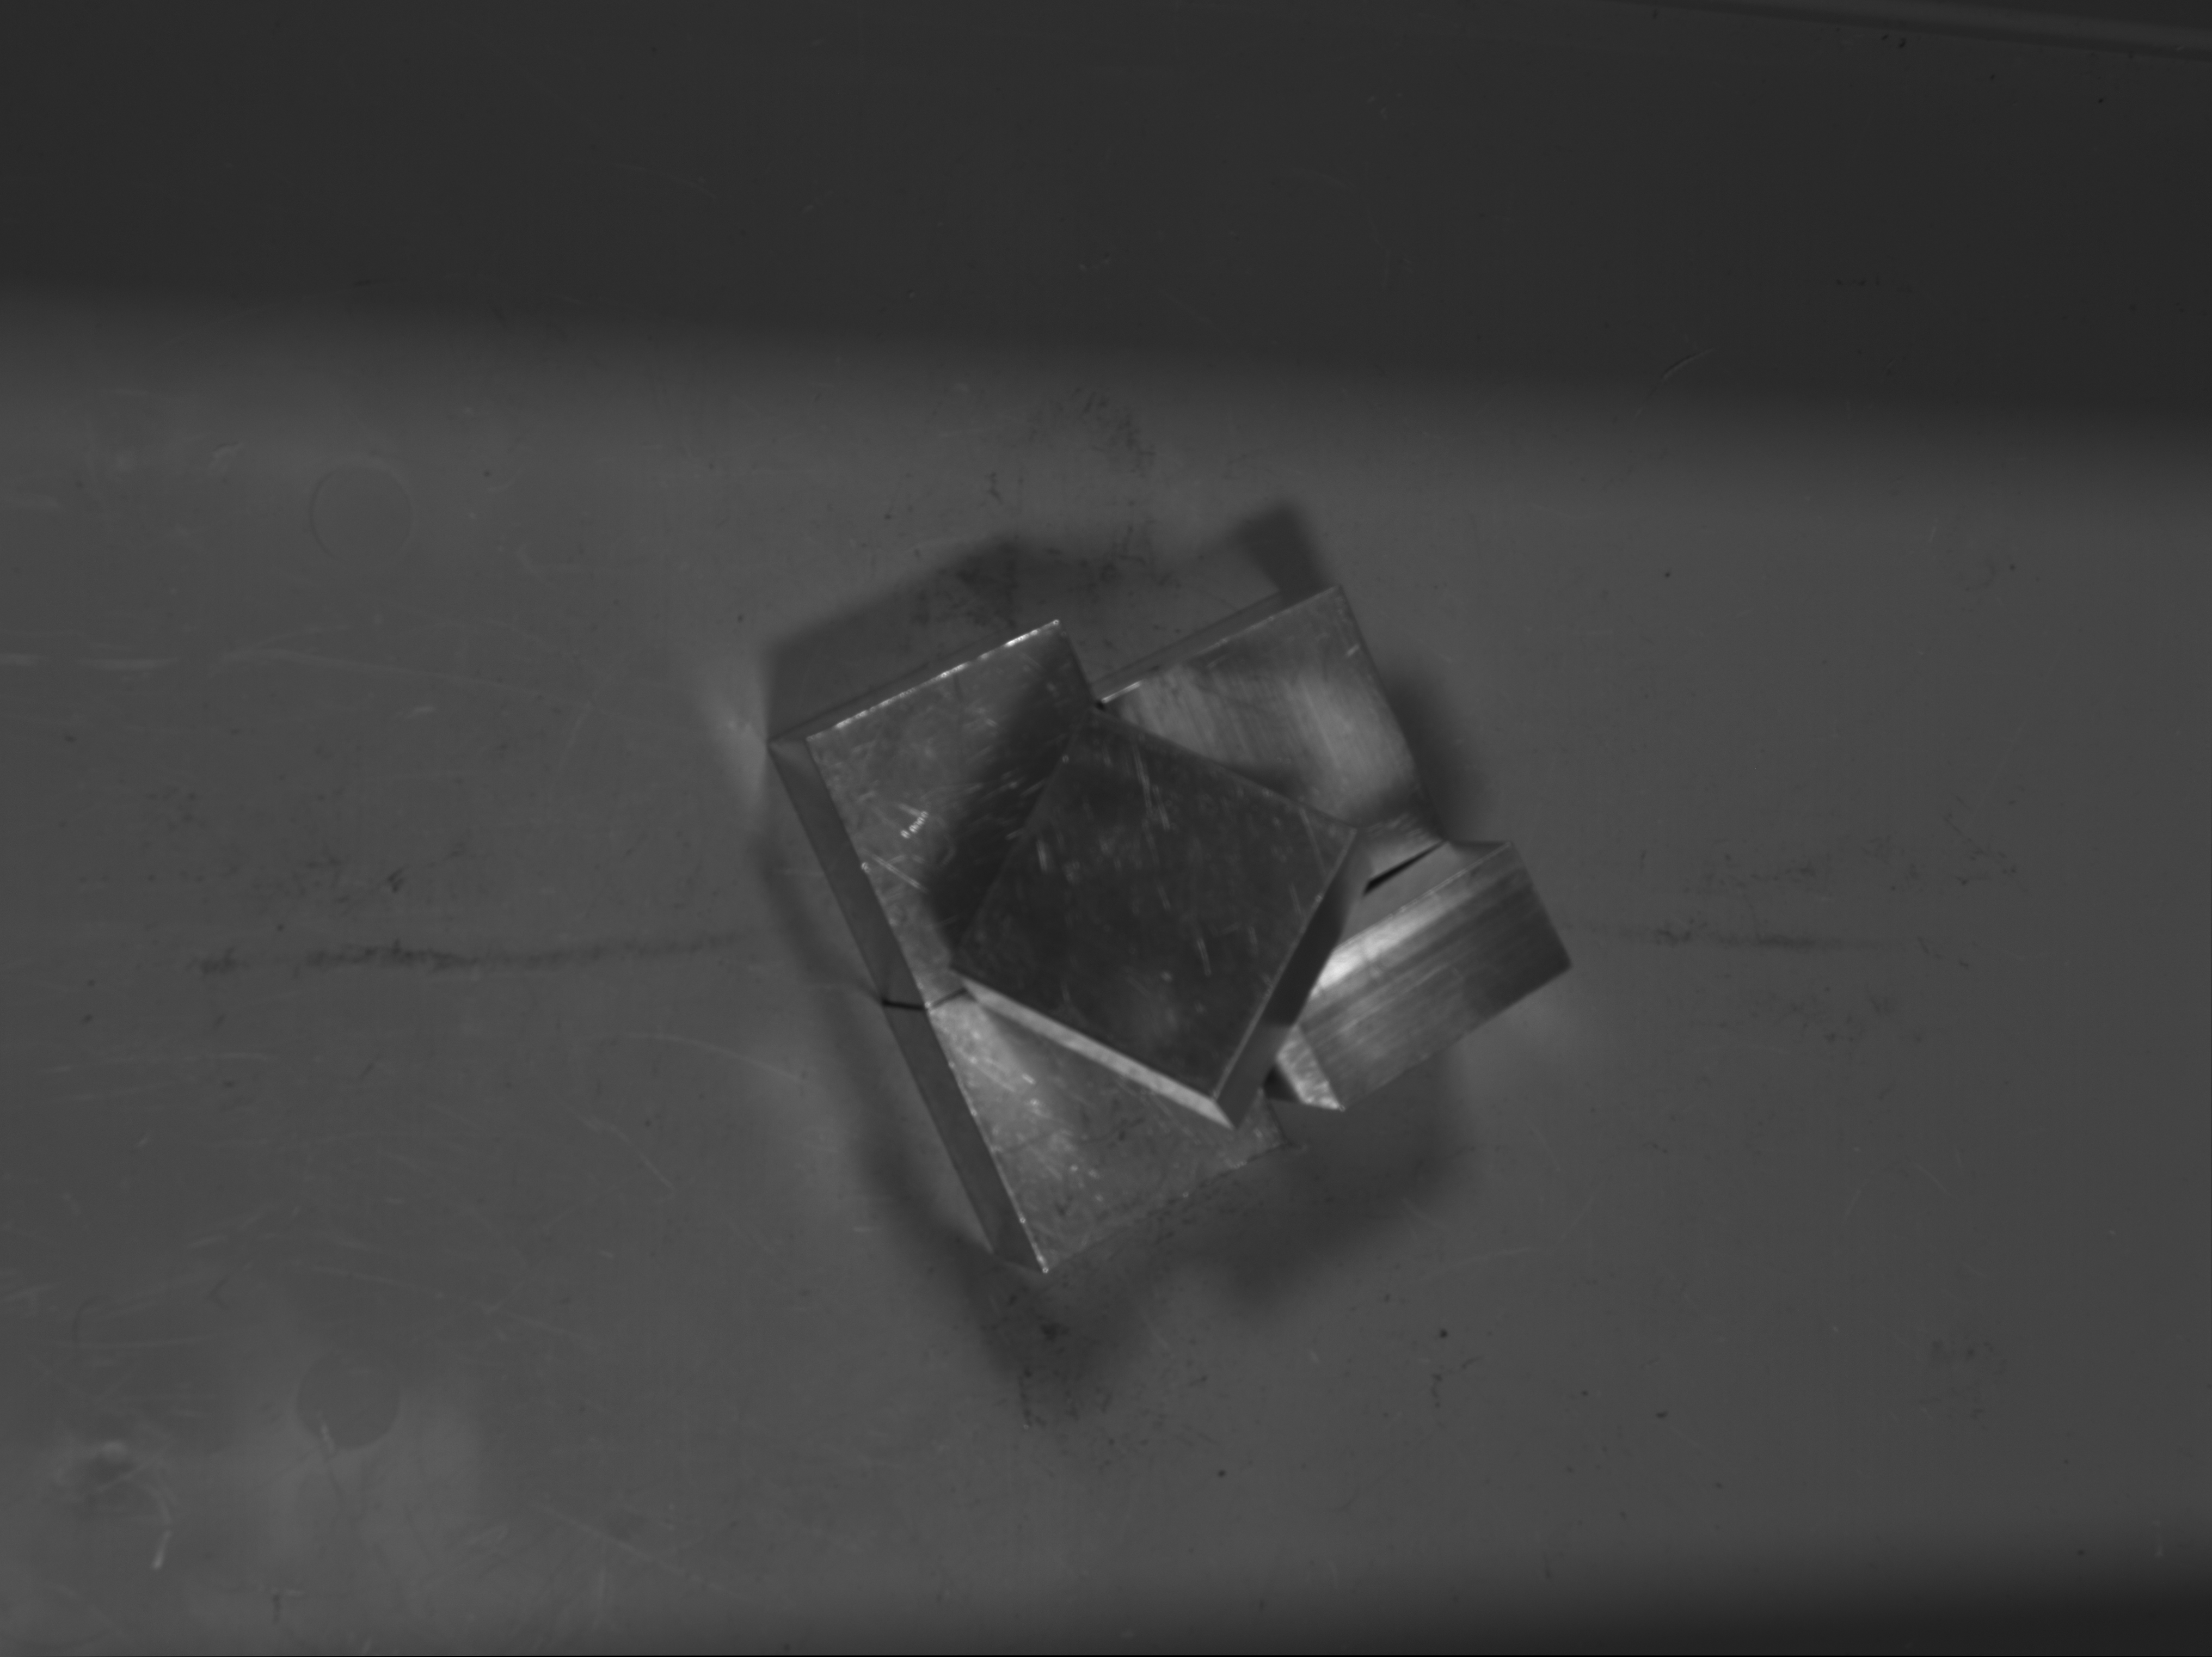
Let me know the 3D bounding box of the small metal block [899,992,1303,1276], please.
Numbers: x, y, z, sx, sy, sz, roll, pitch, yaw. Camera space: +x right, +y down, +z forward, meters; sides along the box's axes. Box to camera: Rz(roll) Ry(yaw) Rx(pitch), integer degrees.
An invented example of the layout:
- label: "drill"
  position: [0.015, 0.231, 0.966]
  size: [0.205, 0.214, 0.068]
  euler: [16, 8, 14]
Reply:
- label: "small metal block"
  position: [-0.001, 0.043, 0.642]
  size: [0.050, 0.025, 0.050]
  euler: [-26, 99, -18]

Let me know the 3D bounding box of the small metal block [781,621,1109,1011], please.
- label: "small metal block"
  position: [-0.021, -0.002, 0.635]
  size: [0.050, 0.025, 0.050]
  euler: [-26, 99, -18]

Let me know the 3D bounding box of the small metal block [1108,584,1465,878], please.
- label: "small metal block"
  position: [0.028, -0.010, 0.653]
  size: [0.050, 0.025, 0.050]
  euler: [-26, 99, -18]

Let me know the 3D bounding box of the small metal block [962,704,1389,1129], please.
- label: "small metal block"
  position: [0.012, 0.015, 0.607]
  size: [0.050, 0.025, 0.050]
  euler: [25, 80, 17]

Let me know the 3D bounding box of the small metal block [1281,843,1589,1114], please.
- label: "small metal block"
  position: [0.049, 0.025, 0.646]
  size: [0.050, 0.050, 0.025]
  euler: [-30, 100, -18]
